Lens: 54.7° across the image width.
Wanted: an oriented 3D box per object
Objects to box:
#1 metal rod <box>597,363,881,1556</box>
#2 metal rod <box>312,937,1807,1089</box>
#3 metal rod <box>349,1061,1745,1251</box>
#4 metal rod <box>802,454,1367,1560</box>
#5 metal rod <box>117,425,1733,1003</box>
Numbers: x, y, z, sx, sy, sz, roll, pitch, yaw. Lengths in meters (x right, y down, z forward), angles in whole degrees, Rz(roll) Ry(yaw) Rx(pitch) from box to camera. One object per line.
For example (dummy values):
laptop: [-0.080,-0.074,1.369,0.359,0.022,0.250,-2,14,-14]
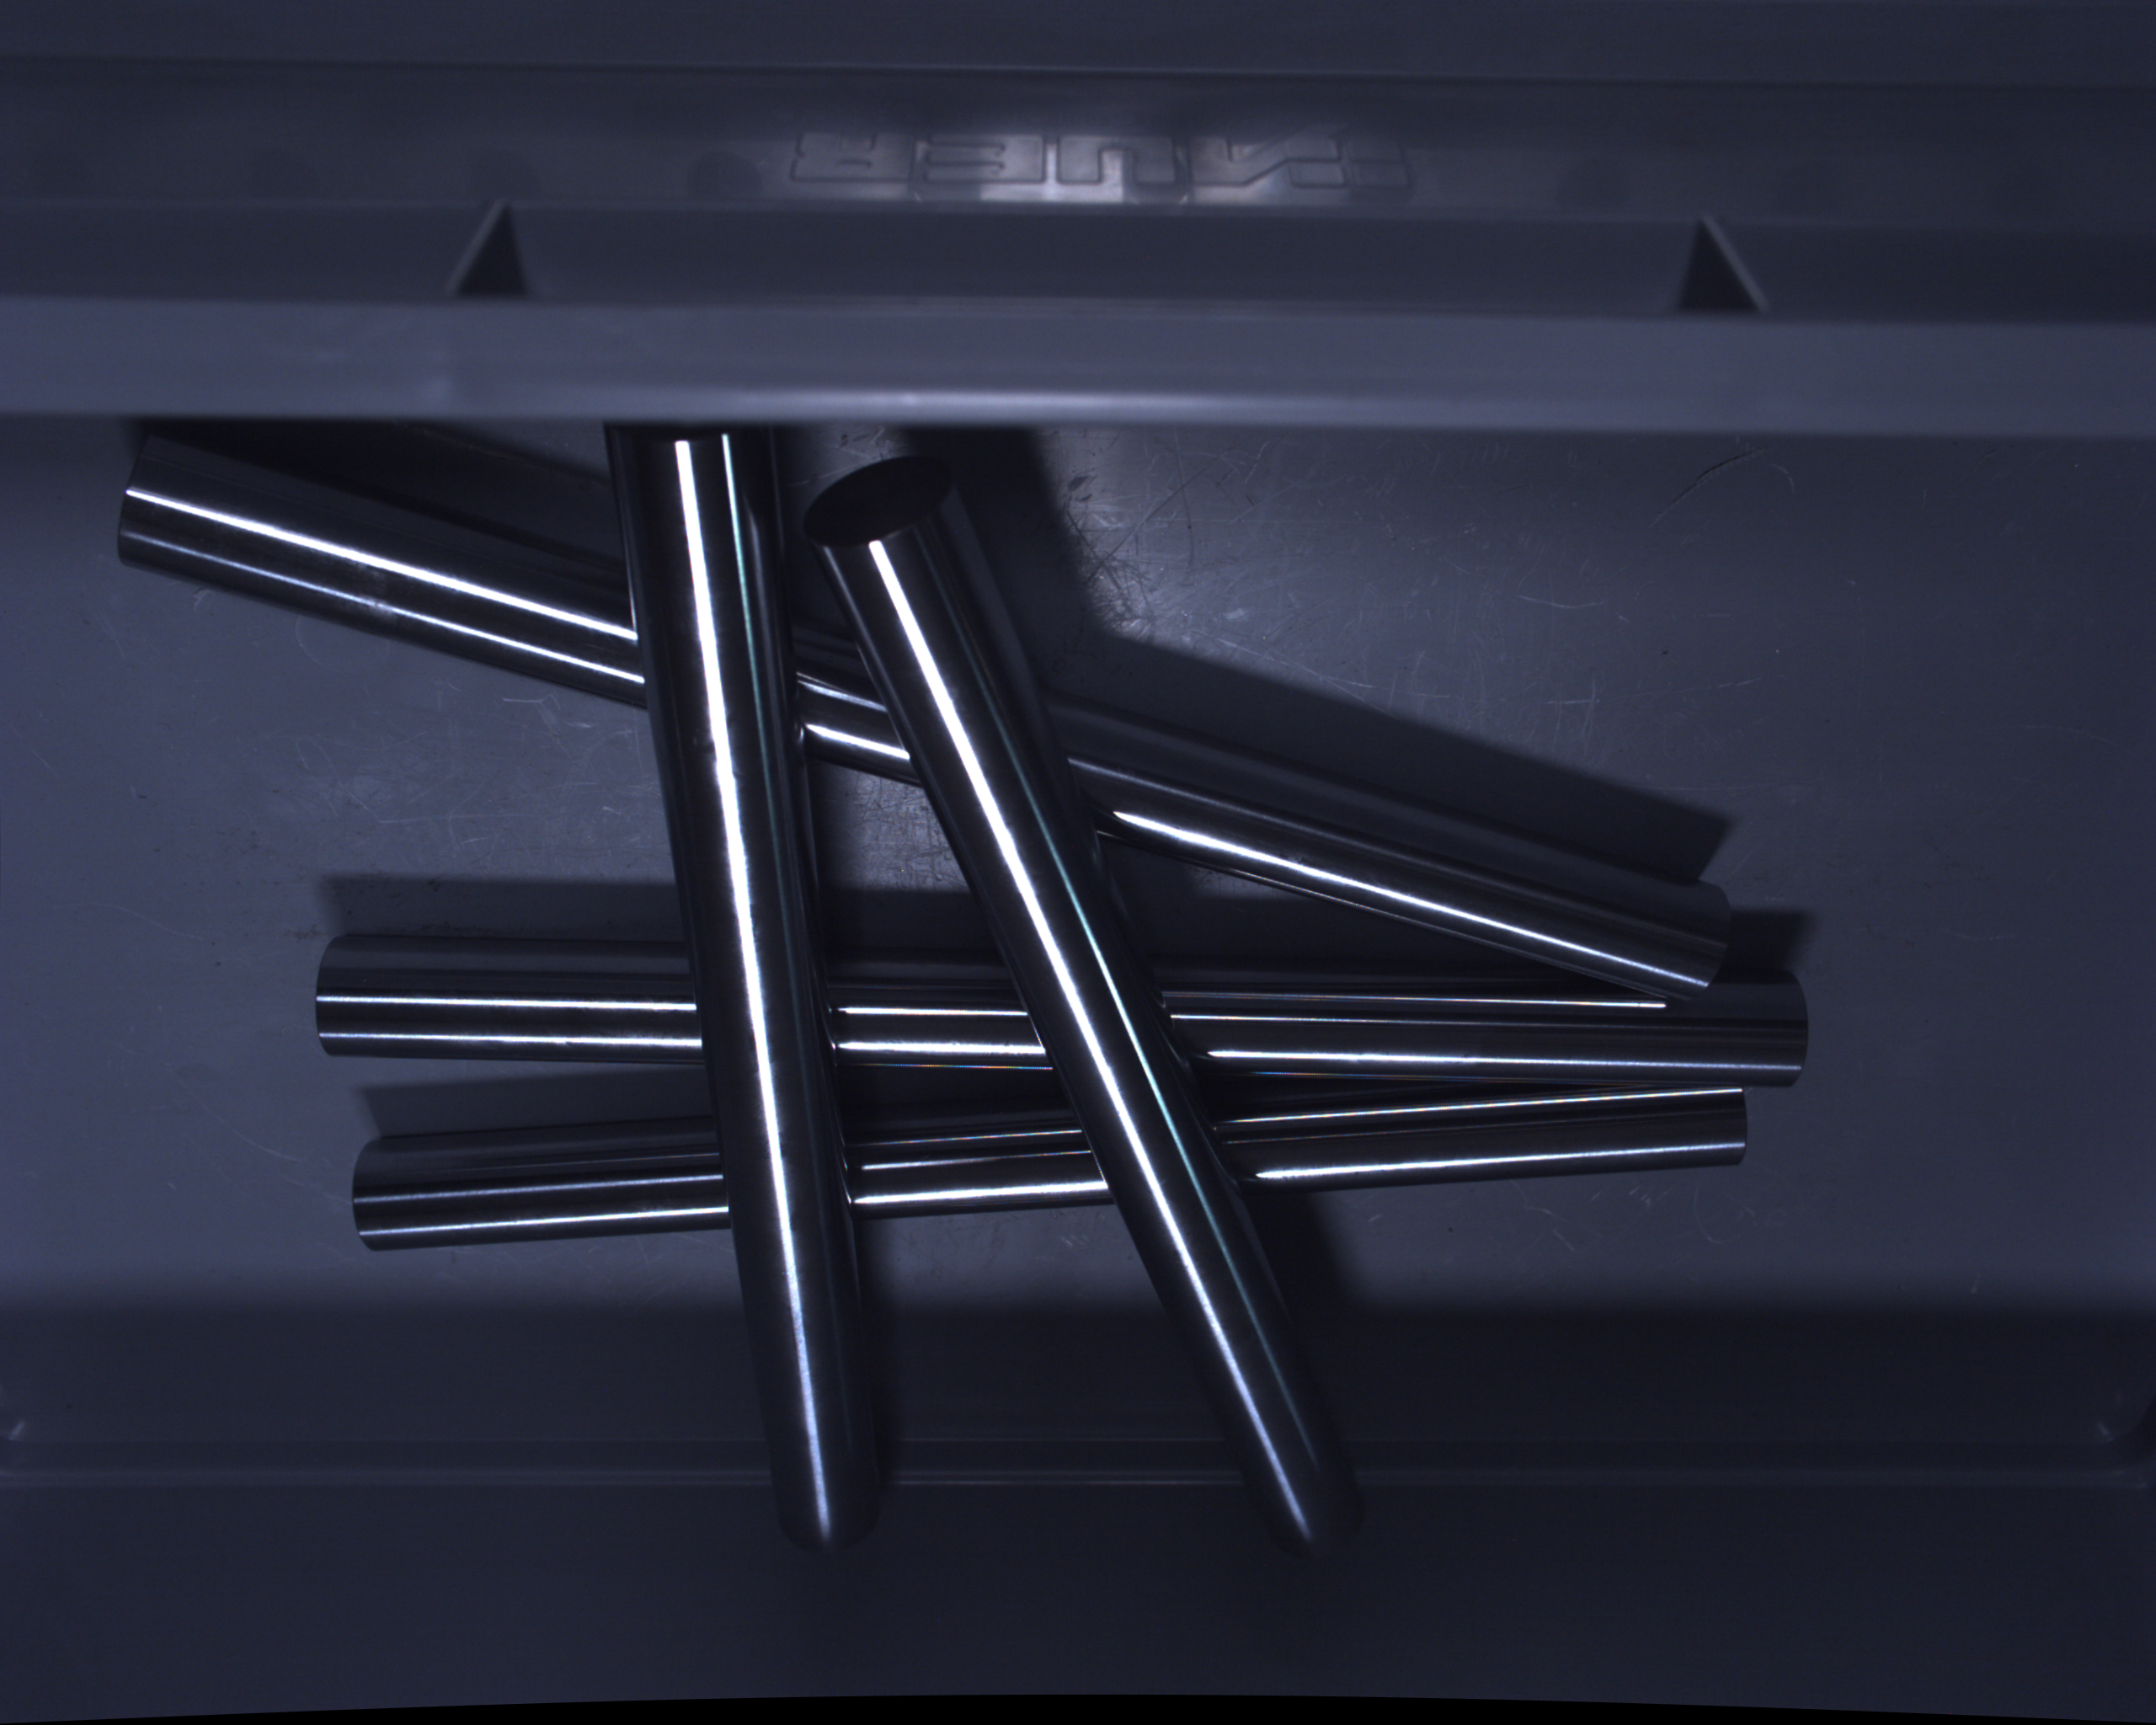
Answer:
metal rod: [-0.060,0.044,0.410,0.025,0.025,0.298,0,130,-1]
metal rod: [-0.002,0.031,0.433,0.302,0.025,0.025,1,130,-2]
metal rod: [-0.008,0.064,0.462,0.302,0.025,0.025,-4,130,2]
metal rod: [0.014,0.051,0.418,0.025,0.025,0.299,-14,129,11]
metal rod: [-0.016,-0.023,0.387,0.302,0.025,0.025,15,128,-14]
